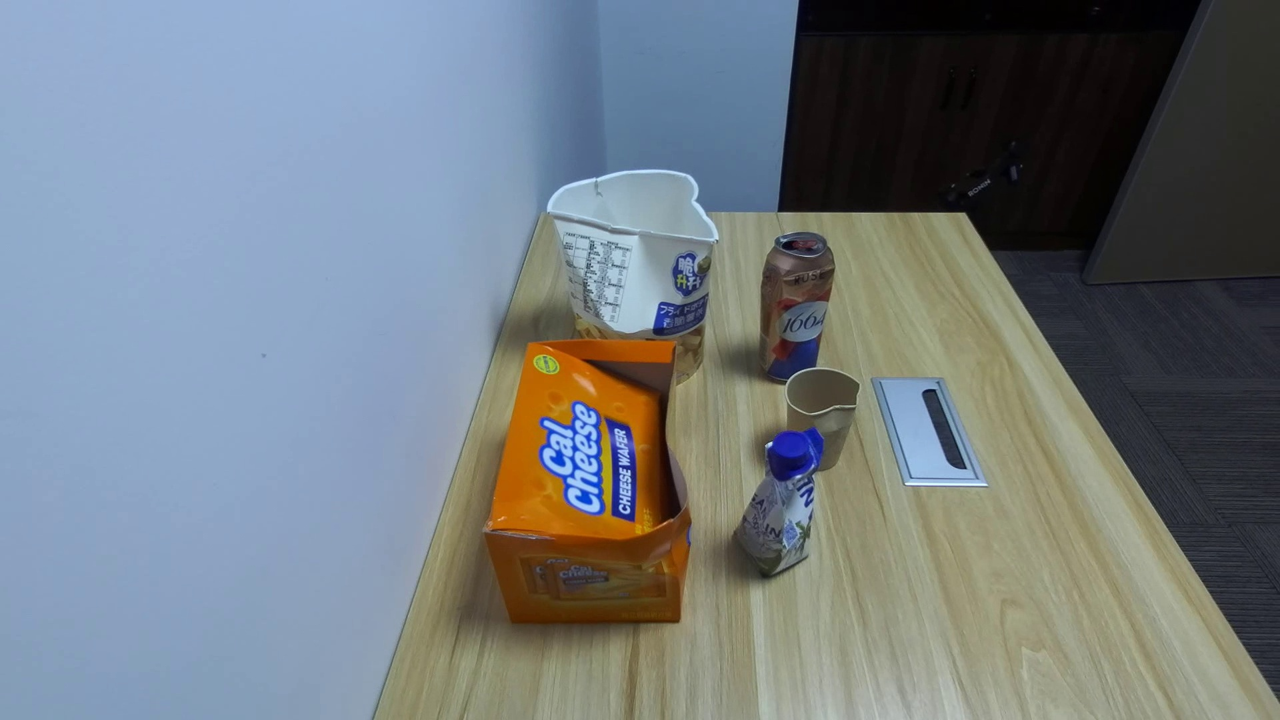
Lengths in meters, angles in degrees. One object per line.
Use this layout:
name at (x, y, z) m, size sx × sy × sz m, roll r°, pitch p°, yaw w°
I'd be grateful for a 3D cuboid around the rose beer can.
rose beer can at (0.170, -0.056, 0.777) m, size 0.076 × 0.167 × 0.065 m, roll -9°, pitch 38°, yaw -4°

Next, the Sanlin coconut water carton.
Sanlin coconut water carton at (0.127, 0.116, 0.587) m, size 0.069 × 0.144 × 0.056 m, roll -14°, pitch 47°, yaw -26°

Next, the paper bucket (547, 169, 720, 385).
paper bucket at (-0.009, -0.082, 0.791) m, size 0.163 × 0.202 × 0.168 m, roll -7°, pitch 37°, yaw -4°

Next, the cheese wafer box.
cheese wafer box at (-0.035, 0.103, 0.623) m, size 0.152 × 0.132 × 0.230 m, roll 0°, pitch 39°, yaw 1°

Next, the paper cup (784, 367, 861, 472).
paper cup at (0.175, 0.061, 0.699) m, size 0.068 × 0.081 × 0.073 m, roll 11°, pitch 40°, yaw 17°
